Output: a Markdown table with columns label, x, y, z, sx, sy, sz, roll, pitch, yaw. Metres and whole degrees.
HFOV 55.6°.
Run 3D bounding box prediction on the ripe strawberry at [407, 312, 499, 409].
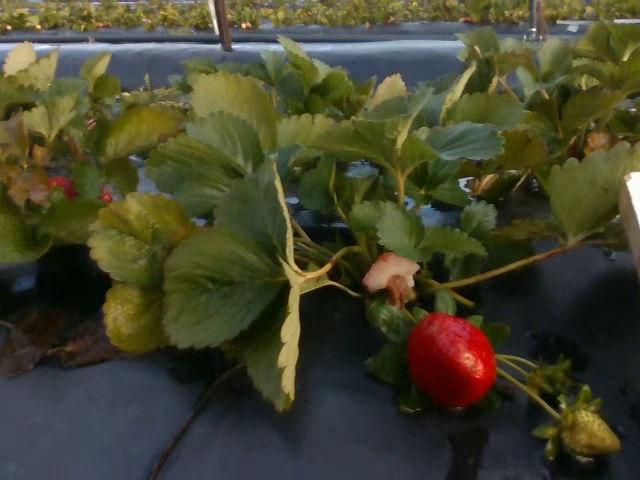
| label | x | y | z | sx | sy | sz | roll | pitch | yaw |
| --- | --- | --- | --- | --- | --- | --- | --- | --- | --- |
| ripe strawberry | 0.065 | 0.056 | 0.275 | 0.043 | 0.052 | 0.057 | -26 | -10 | -1 |
